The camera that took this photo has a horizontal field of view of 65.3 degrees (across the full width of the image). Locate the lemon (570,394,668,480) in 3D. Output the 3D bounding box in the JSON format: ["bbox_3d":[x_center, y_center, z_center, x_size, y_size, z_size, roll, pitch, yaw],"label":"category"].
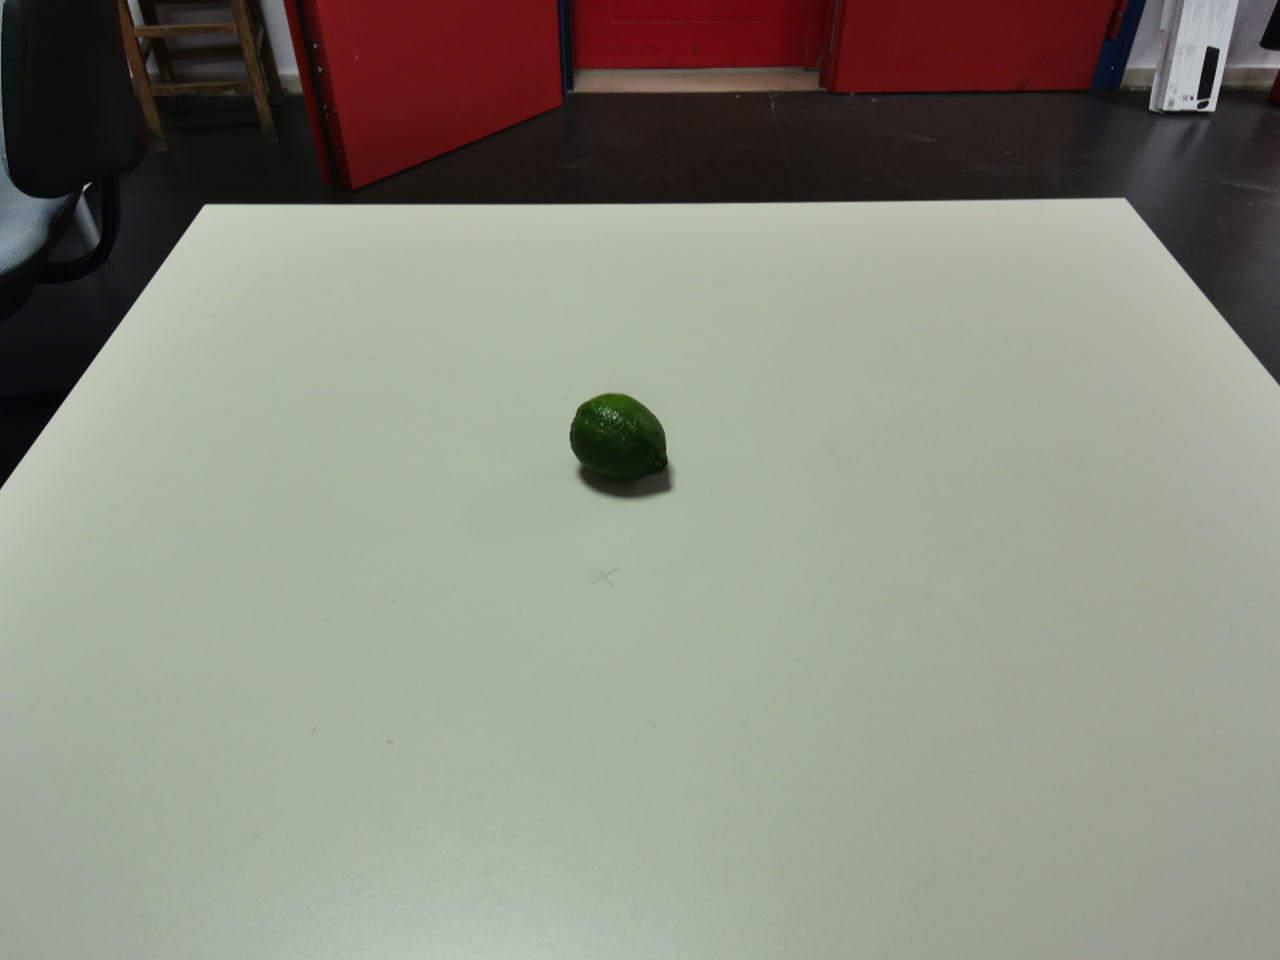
[{"bbox_3d":[-0.013,-0.027,0.602,0.057,0.051,0.054,-3,39,-3],"label":"lemon"}]
